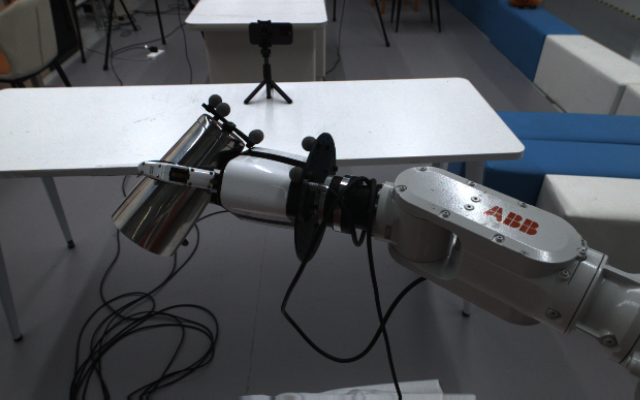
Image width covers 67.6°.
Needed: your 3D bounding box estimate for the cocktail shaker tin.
[{"bbox_3d":[-0.172,-0.026,0.616,0.170,0.093,0.093,-50,46,4],"label":"cocktail shaker tin"}]
